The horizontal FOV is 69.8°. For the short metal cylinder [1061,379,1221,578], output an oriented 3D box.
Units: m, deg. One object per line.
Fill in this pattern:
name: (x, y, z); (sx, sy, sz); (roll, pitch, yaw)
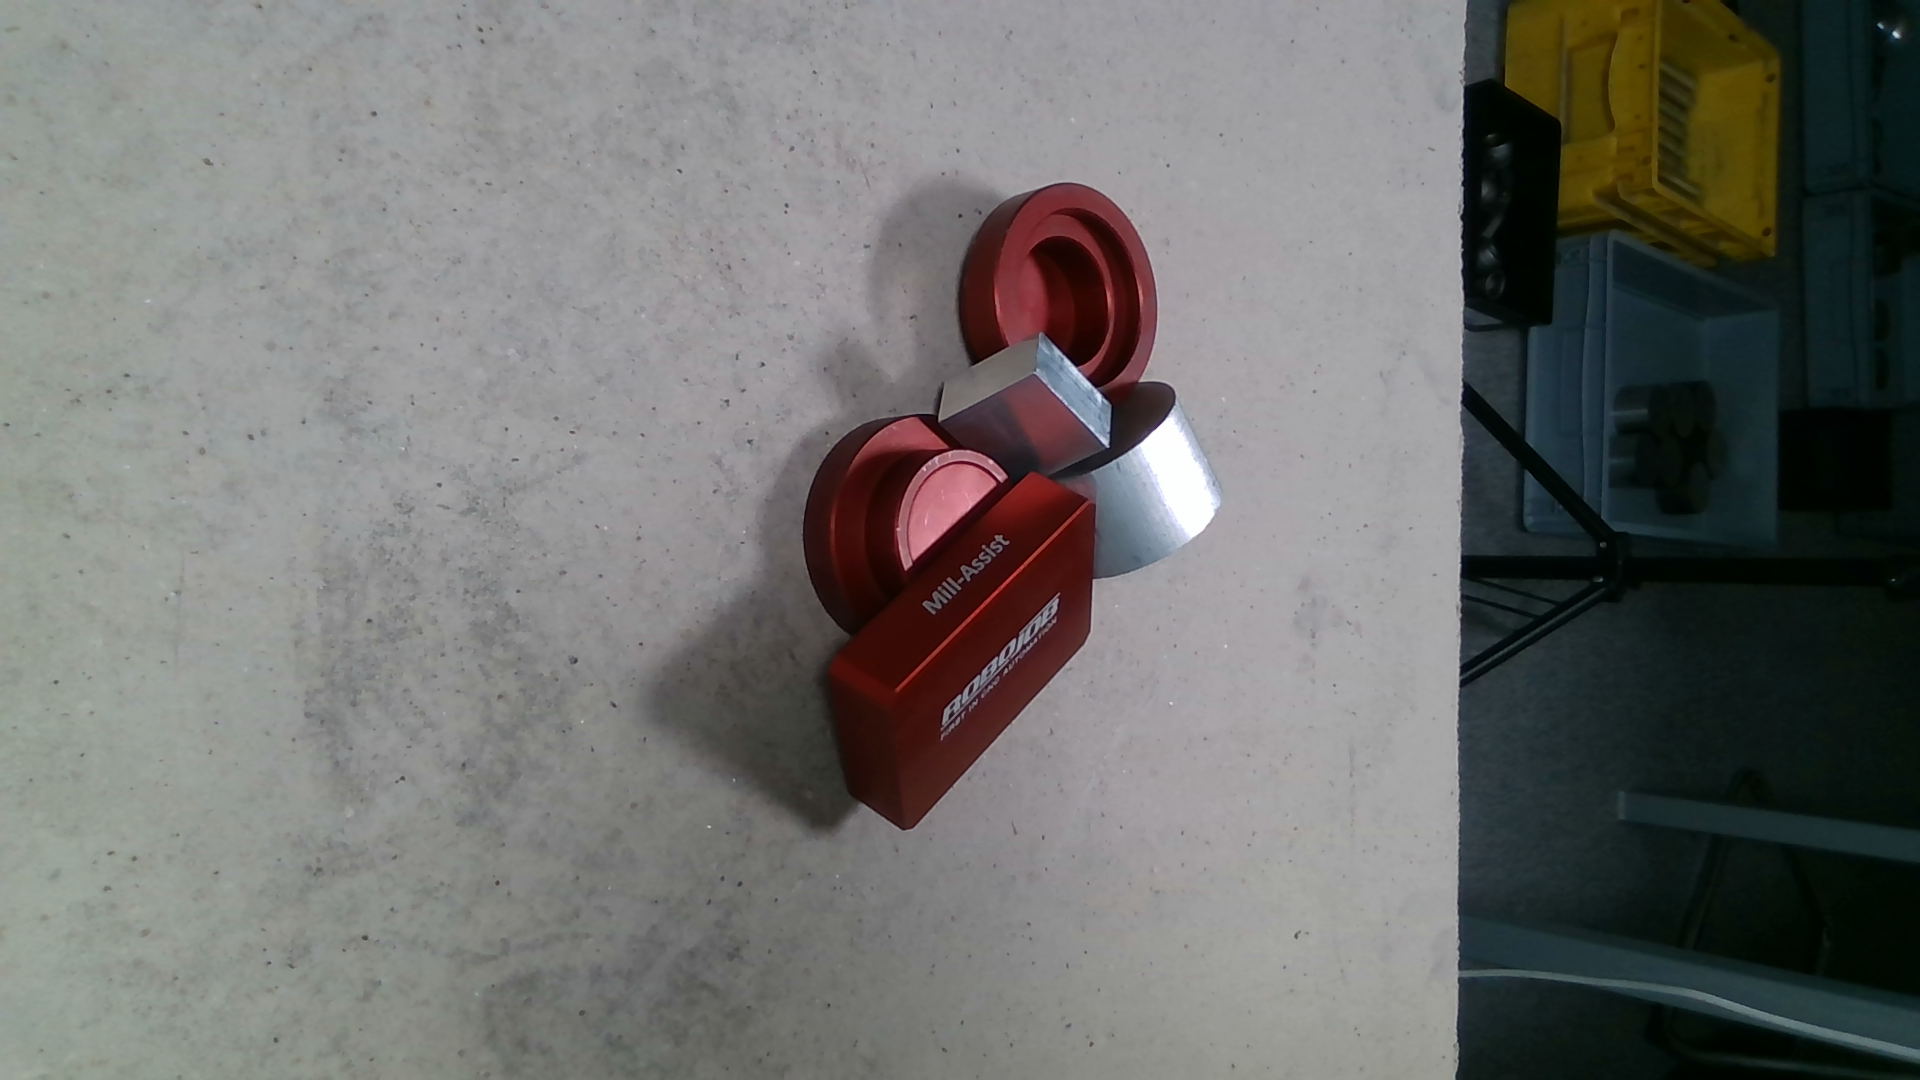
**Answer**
short metal cylinder: (0.068, -0.028, 0.606); (0.080, 0.080, 0.050); (-45, 117, -31)

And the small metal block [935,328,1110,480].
small metal block: (0.026, -0.052, 0.566); (0.050, 0.050, 0.025); (41, 40, -33)

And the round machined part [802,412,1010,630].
round machined part: (-0.012, -0.003, 0.562); (0.098, 0.042, 0.098); (0, 90, -40)

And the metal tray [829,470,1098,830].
metal tray: (0.006, 0.043, 0.556); (0.130, 0.030, 0.090); (-43, 148, -32)

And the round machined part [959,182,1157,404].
round machined part: (0.038, -0.104, 0.604); (0.098, 0.042, 0.098); (0, 90, -40)
